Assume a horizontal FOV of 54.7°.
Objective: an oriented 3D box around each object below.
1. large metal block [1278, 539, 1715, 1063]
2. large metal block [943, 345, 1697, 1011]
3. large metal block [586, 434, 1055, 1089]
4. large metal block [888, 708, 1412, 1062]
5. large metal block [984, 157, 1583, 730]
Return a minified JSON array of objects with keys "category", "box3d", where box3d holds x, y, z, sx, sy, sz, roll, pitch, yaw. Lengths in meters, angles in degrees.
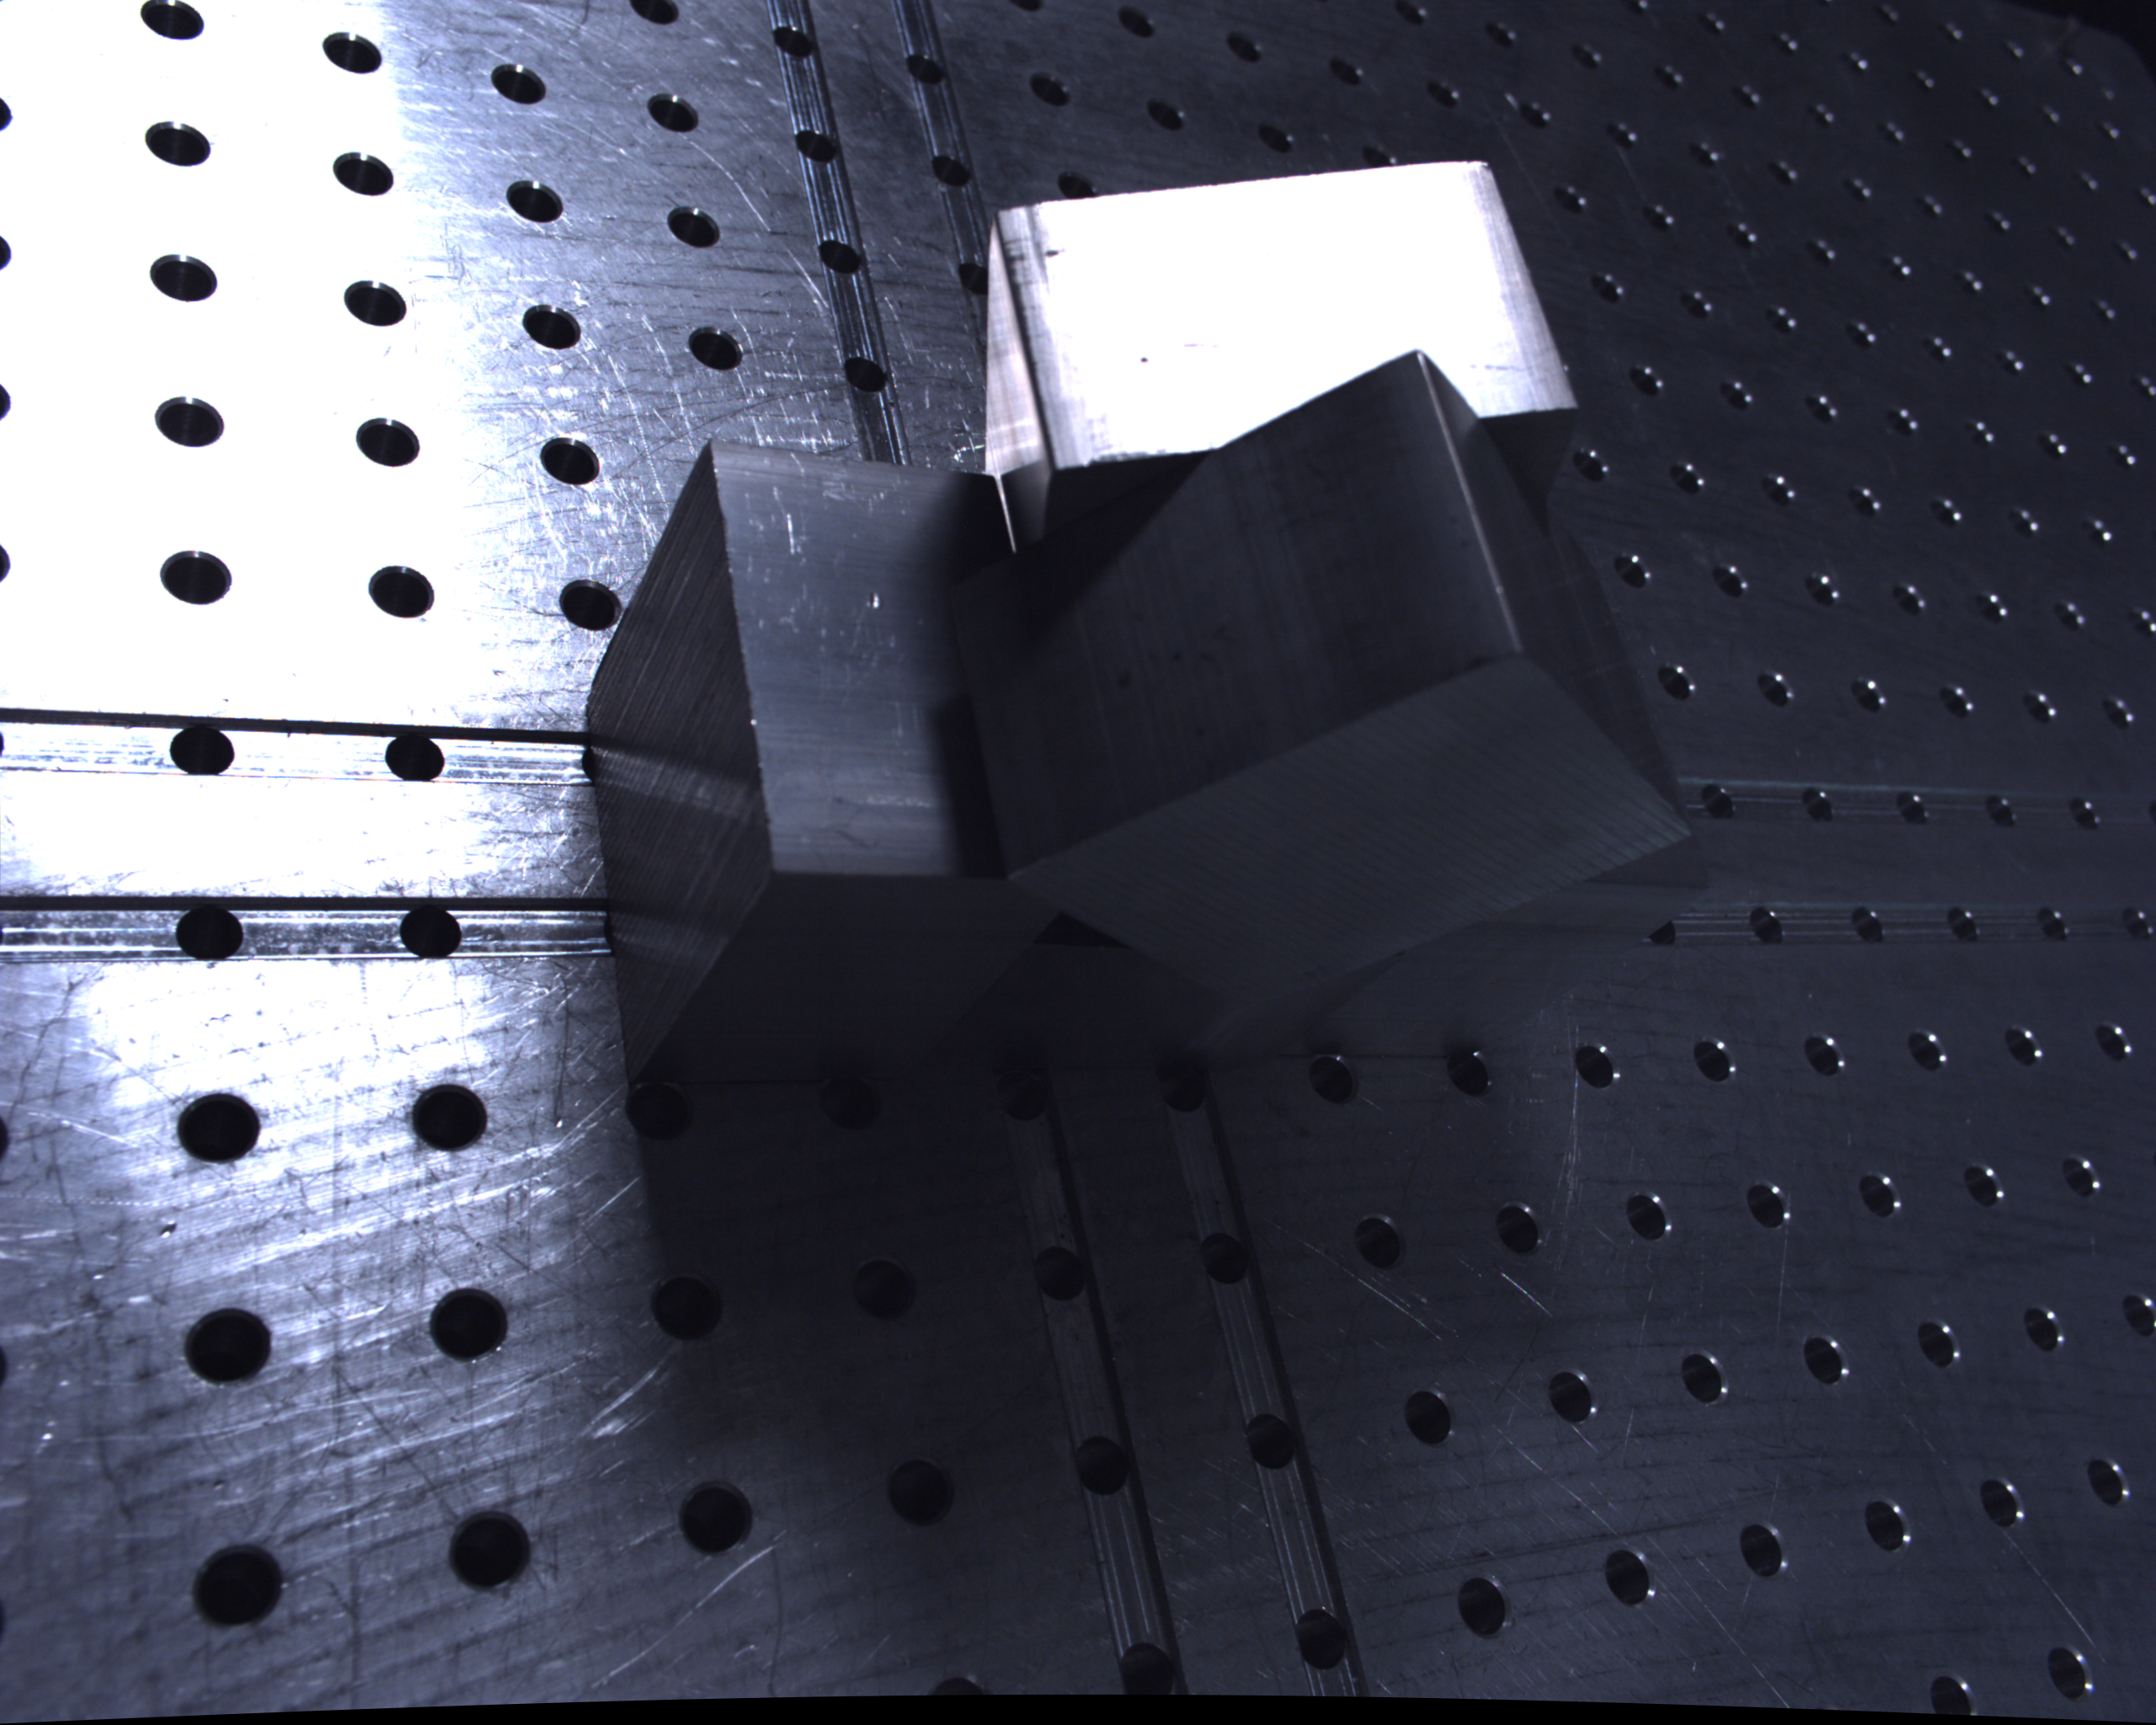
[{"category":"large metal block","box3d":[0.071,-0.012,0.420,0.050,0.080,0.080,4,60,-27]},{"category":"large metal block","box3d":[0.039,-0.023,0.323,0.080,0.080,0.050,30,42,-54]},{"category":"large metal block","box3d":[-0.046,-0.014,0.358,0.050,0.080,0.080,2,61,-28]},{"category":"large metal block","box3d":[0.007,-0.008,0.400,0.081,0.050,0.080,3,61,-27]},{"category":"large metal block","box3d":[0.028,-0.066,0.348,0.081,0.080,0.050,-8,64,-7]}]
